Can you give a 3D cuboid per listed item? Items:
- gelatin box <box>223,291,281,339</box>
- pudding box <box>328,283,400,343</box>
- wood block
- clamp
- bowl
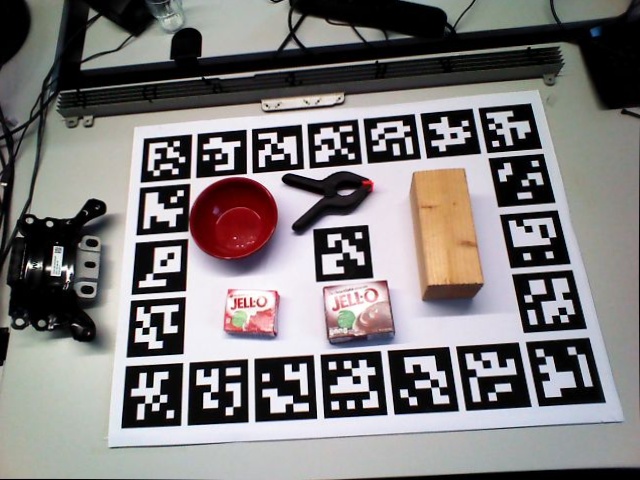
[{"bbox_3d":[-0.114,0.126,0.877,0.089,0.030,0.073,3,71,6],"label":"gelatin box"},{"bbox_3d":[0.072,0.122,0.860,0.114,0.039,0.089,-6,73,5],"label":"pudding box"},{"bbox_3d":[0.222,-0.008,0.867,0.090,0.091,0.205,-2,69,3],"label":"wood block"},{"bbox_3d":[0.011,-0.080,0.951,0.165,0.037,0.121,-14,68,-2],"label":"clamp"},{"bbox_3d":[-0.149,-0.032,0.935,0.162,0.055,0.161,-1,72,3],"label":"bowl"}]
